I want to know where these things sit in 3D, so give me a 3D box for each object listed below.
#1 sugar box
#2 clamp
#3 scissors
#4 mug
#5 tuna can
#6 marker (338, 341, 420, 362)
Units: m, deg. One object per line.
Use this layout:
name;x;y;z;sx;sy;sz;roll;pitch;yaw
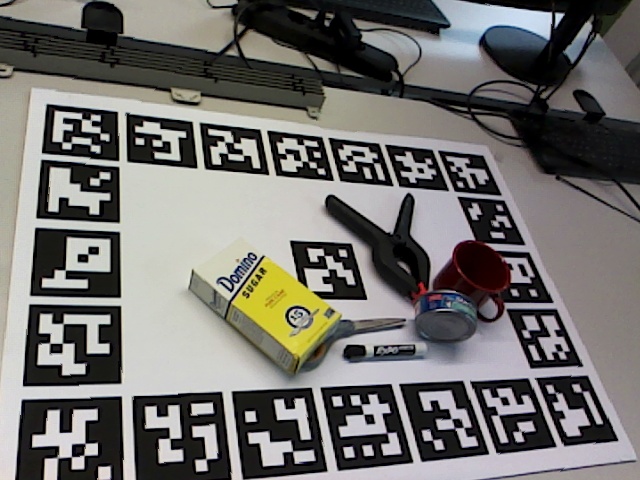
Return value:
sugar box;-0.066;0.082;0.807;0.177;0.045;0.092;40;48;17
clamp;0.111;0.011;0.970;0.164;0.037;0.204;-6;58;-29
scissors;0.032;0.115;0.846;0.201;0.016;0.088;-6;53;-30
mug;0.222;0.072;0.932;0.093;0.081;0.118;-24;63;-37
tuna can;0.179;0.109;0.876;0.085;0.086;0.034;17;49;-12
marker;0.081;0.152;0.842;0.120;0.019;0.020;-1;55;-24
